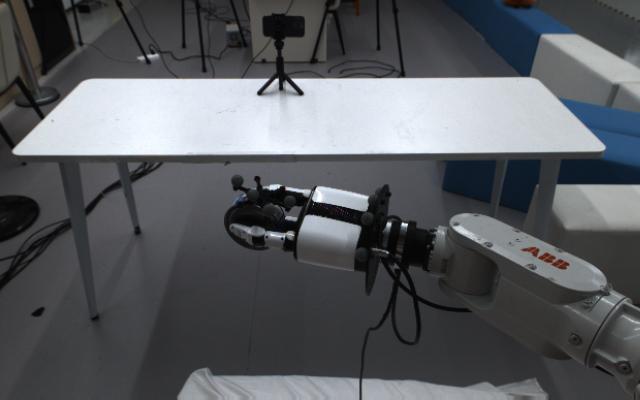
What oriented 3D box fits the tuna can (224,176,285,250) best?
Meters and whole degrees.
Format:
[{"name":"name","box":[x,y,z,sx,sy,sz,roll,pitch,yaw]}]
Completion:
[{"name":"tuna can","box":[-0.095,0.032,0.716,0.085,0.085,0.034,9,35,10]}]
